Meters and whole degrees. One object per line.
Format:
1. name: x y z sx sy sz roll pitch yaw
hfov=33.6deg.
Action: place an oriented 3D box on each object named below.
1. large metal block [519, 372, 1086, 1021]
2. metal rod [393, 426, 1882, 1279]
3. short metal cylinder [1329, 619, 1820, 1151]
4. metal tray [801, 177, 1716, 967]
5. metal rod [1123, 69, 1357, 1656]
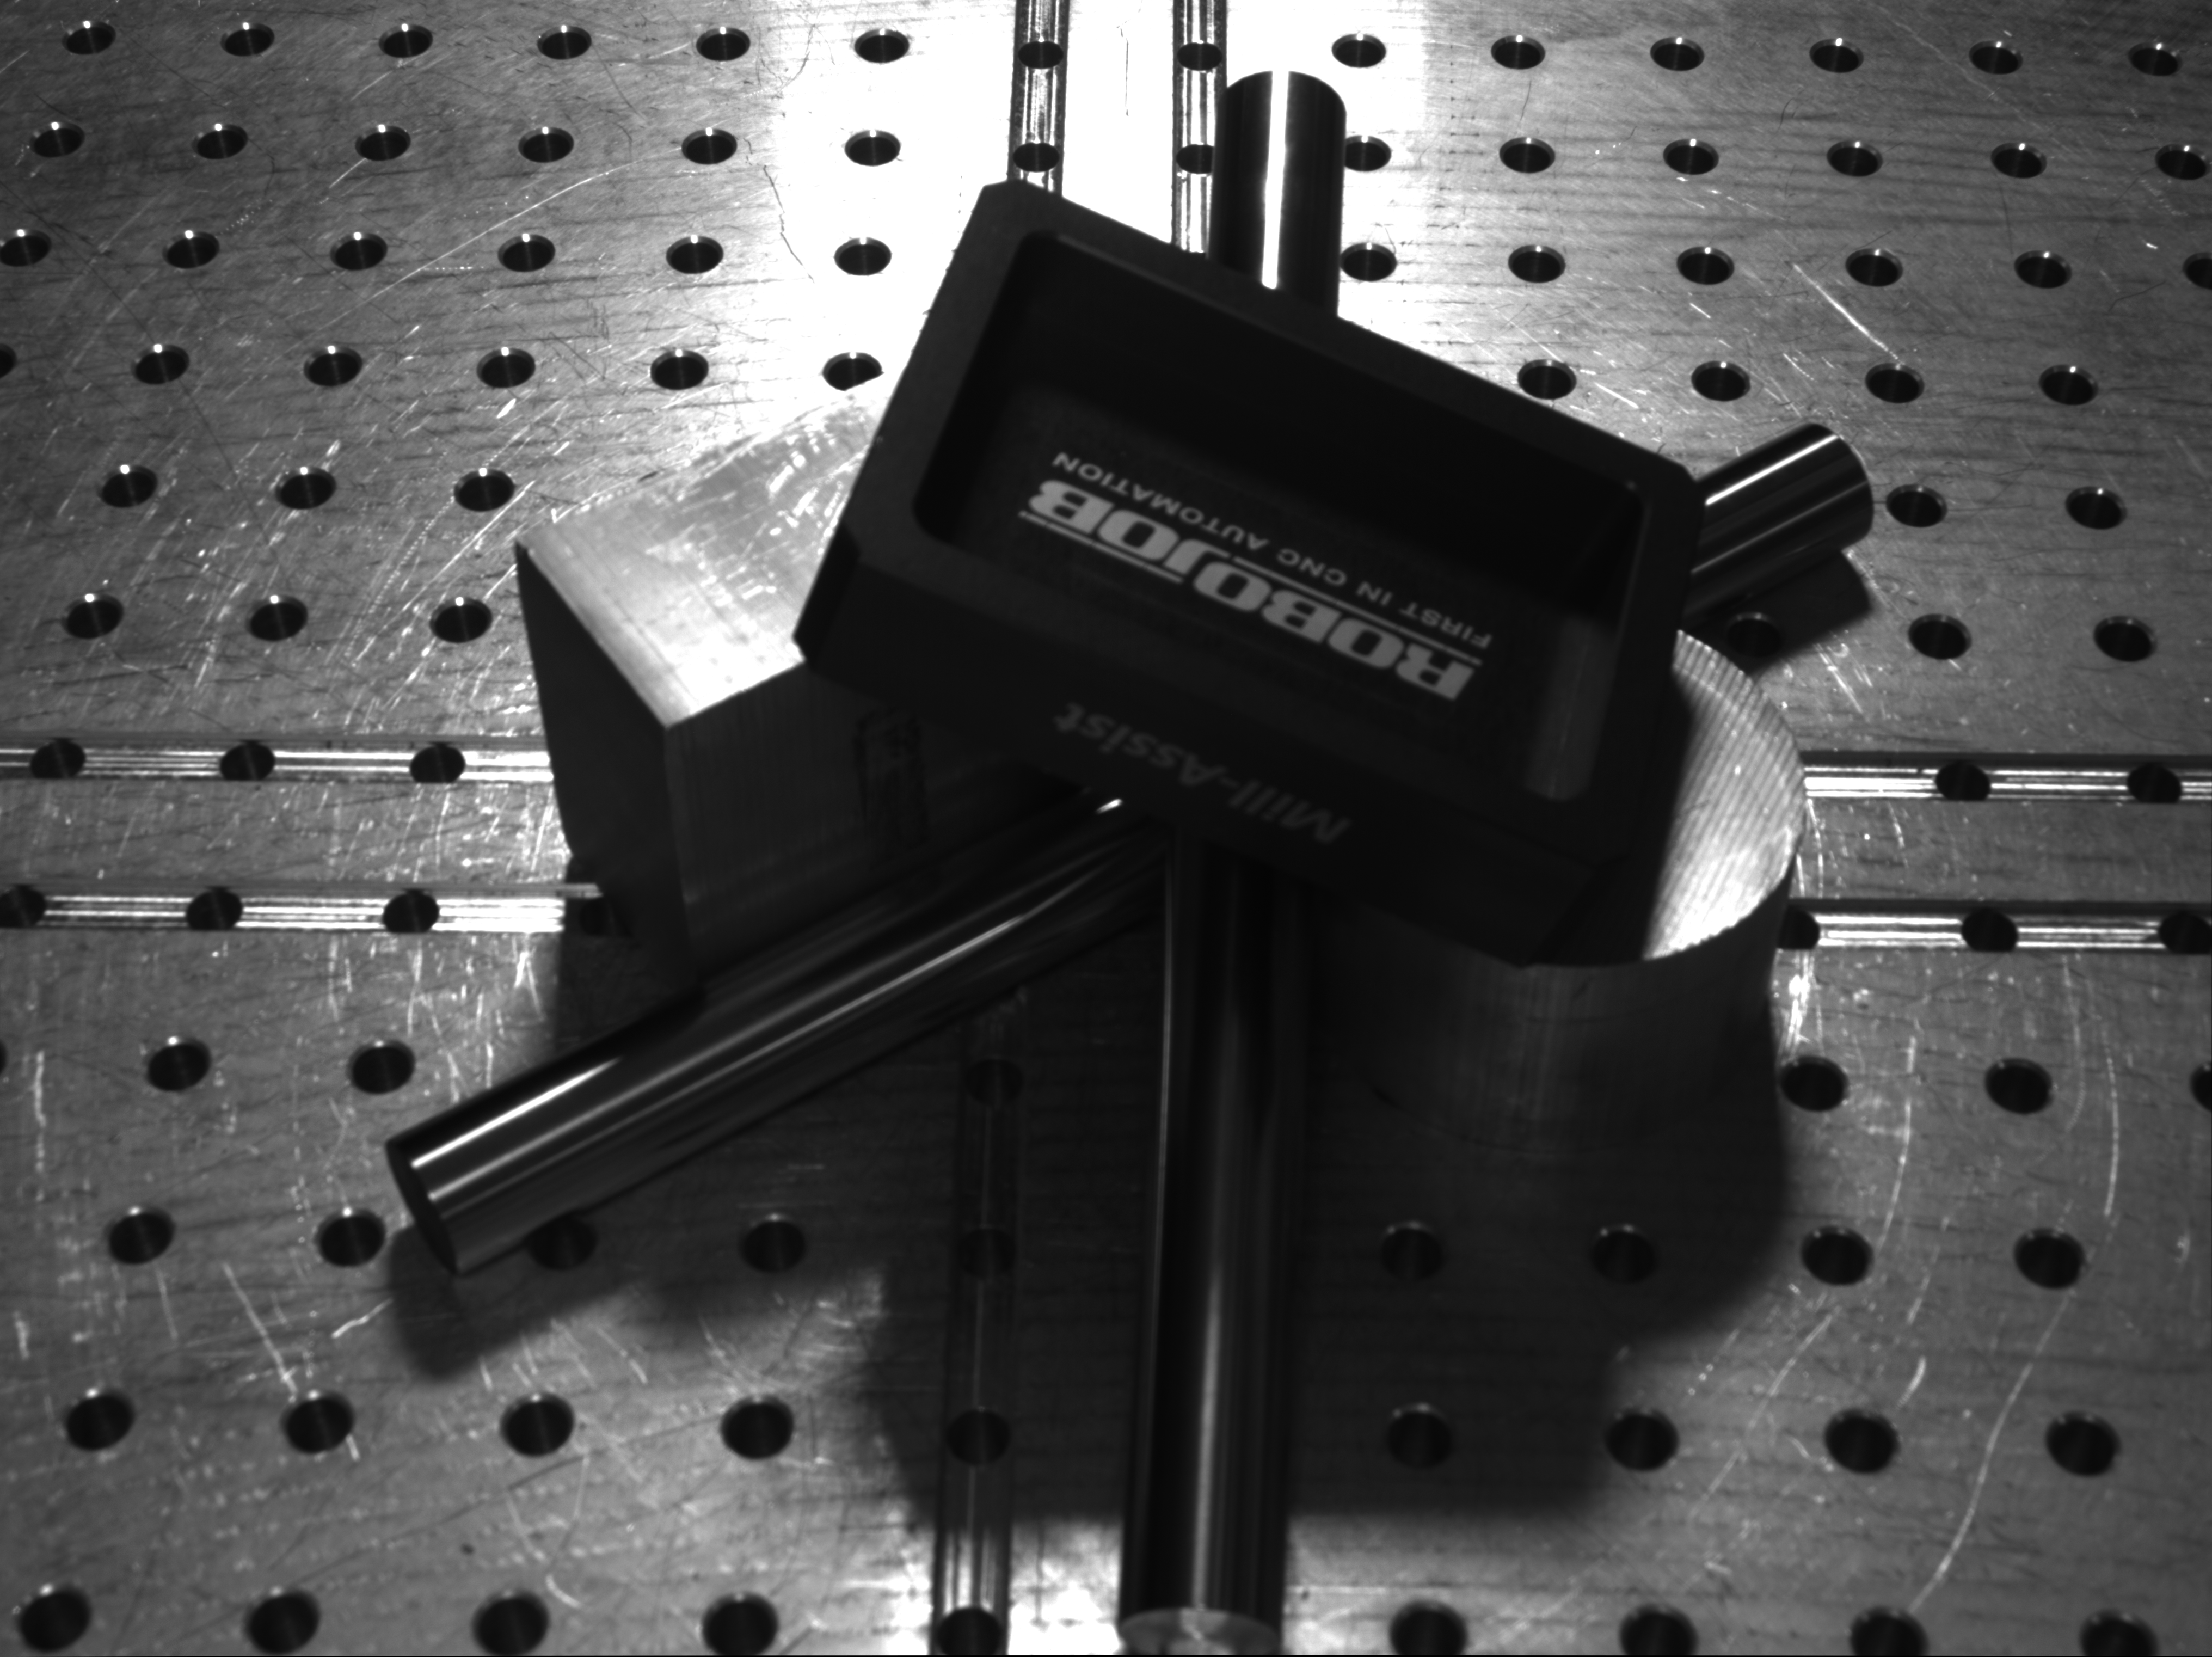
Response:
1. large metal block: -0.048 -0.022 0.627 0.080 0.080 0.050 -27 55 -21
2. metal rod: 0.015 -0.002 0.647 0.300 0.025 0.025 -27 55 -21
3. short metal cylinder: 0.077 0.008 0.621 0.080 0.050 0.080 0 50 0
4. metal tray: 0.027 -0.042 0.585 0.130 0.030 0.090 23 51 -5
5. metal rod: 0.025 -0.008 0.622 0.025 0.025 0.300 3 59 3
